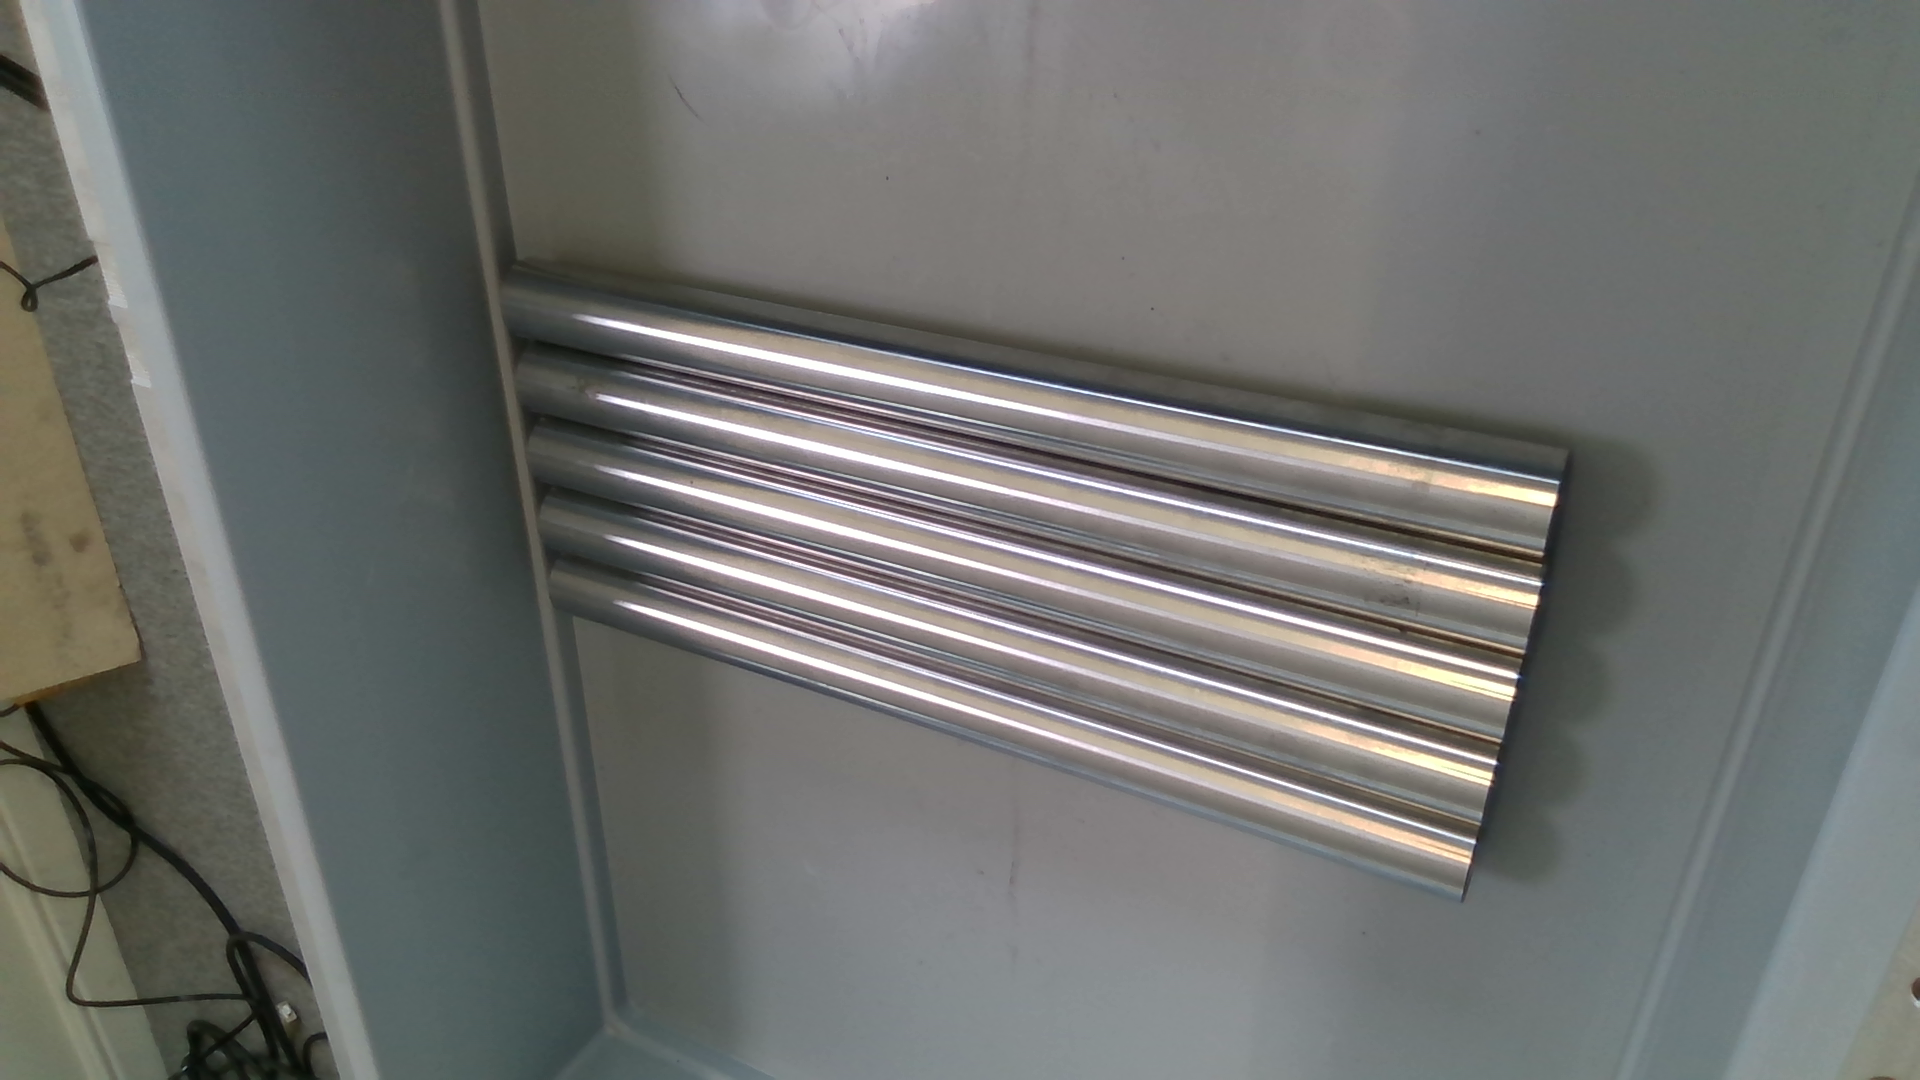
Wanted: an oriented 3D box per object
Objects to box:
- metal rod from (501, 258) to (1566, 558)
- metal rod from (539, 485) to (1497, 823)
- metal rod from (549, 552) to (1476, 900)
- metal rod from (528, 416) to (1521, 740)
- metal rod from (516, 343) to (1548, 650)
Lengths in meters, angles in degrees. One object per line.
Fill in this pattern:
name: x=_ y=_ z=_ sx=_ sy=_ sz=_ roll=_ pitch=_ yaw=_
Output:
metal rod: x=-0.002 y=-0.042 z=0.366 sx=0.300 sy=0.025 sz=0.025 roll=14 pitch=122 yaw=25
metal rod: x=-0.001 y=0.024 z=0.402 sx=0.300 sy=0.025 sz=0.025 roll=14 pitch=122 yaw=25
metal rod: x=-0.001 y=0.046 z=0.414 sx=0.300 sy=0.025 sz=0.025 roll=14 pitch=122 yaw=25
metal rod: x=-0.001 y=0.002 z=0.389 sx=0.300 sy=0.025 sz=0.025 roll=14 pitch=122 yaw=25
metal rod: x=-0.001 y=-0.021 z=0.377 sx=0.300 sy=0.025 sz=0.025 roll=14 pitch=122 yaw=25
